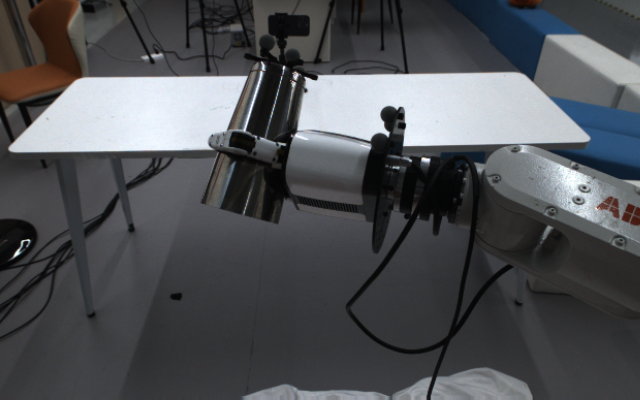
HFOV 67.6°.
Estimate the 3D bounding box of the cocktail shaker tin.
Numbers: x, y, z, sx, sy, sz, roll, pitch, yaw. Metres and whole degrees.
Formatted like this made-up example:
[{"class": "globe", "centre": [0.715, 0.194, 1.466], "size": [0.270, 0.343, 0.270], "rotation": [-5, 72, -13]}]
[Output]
[{"class": "cocktail shaker tin", "centre": [-0.069, -0.065, 0.558], "size": [0.093, 0.170, 0.093], "rotation": [15, -4, 1]}]
